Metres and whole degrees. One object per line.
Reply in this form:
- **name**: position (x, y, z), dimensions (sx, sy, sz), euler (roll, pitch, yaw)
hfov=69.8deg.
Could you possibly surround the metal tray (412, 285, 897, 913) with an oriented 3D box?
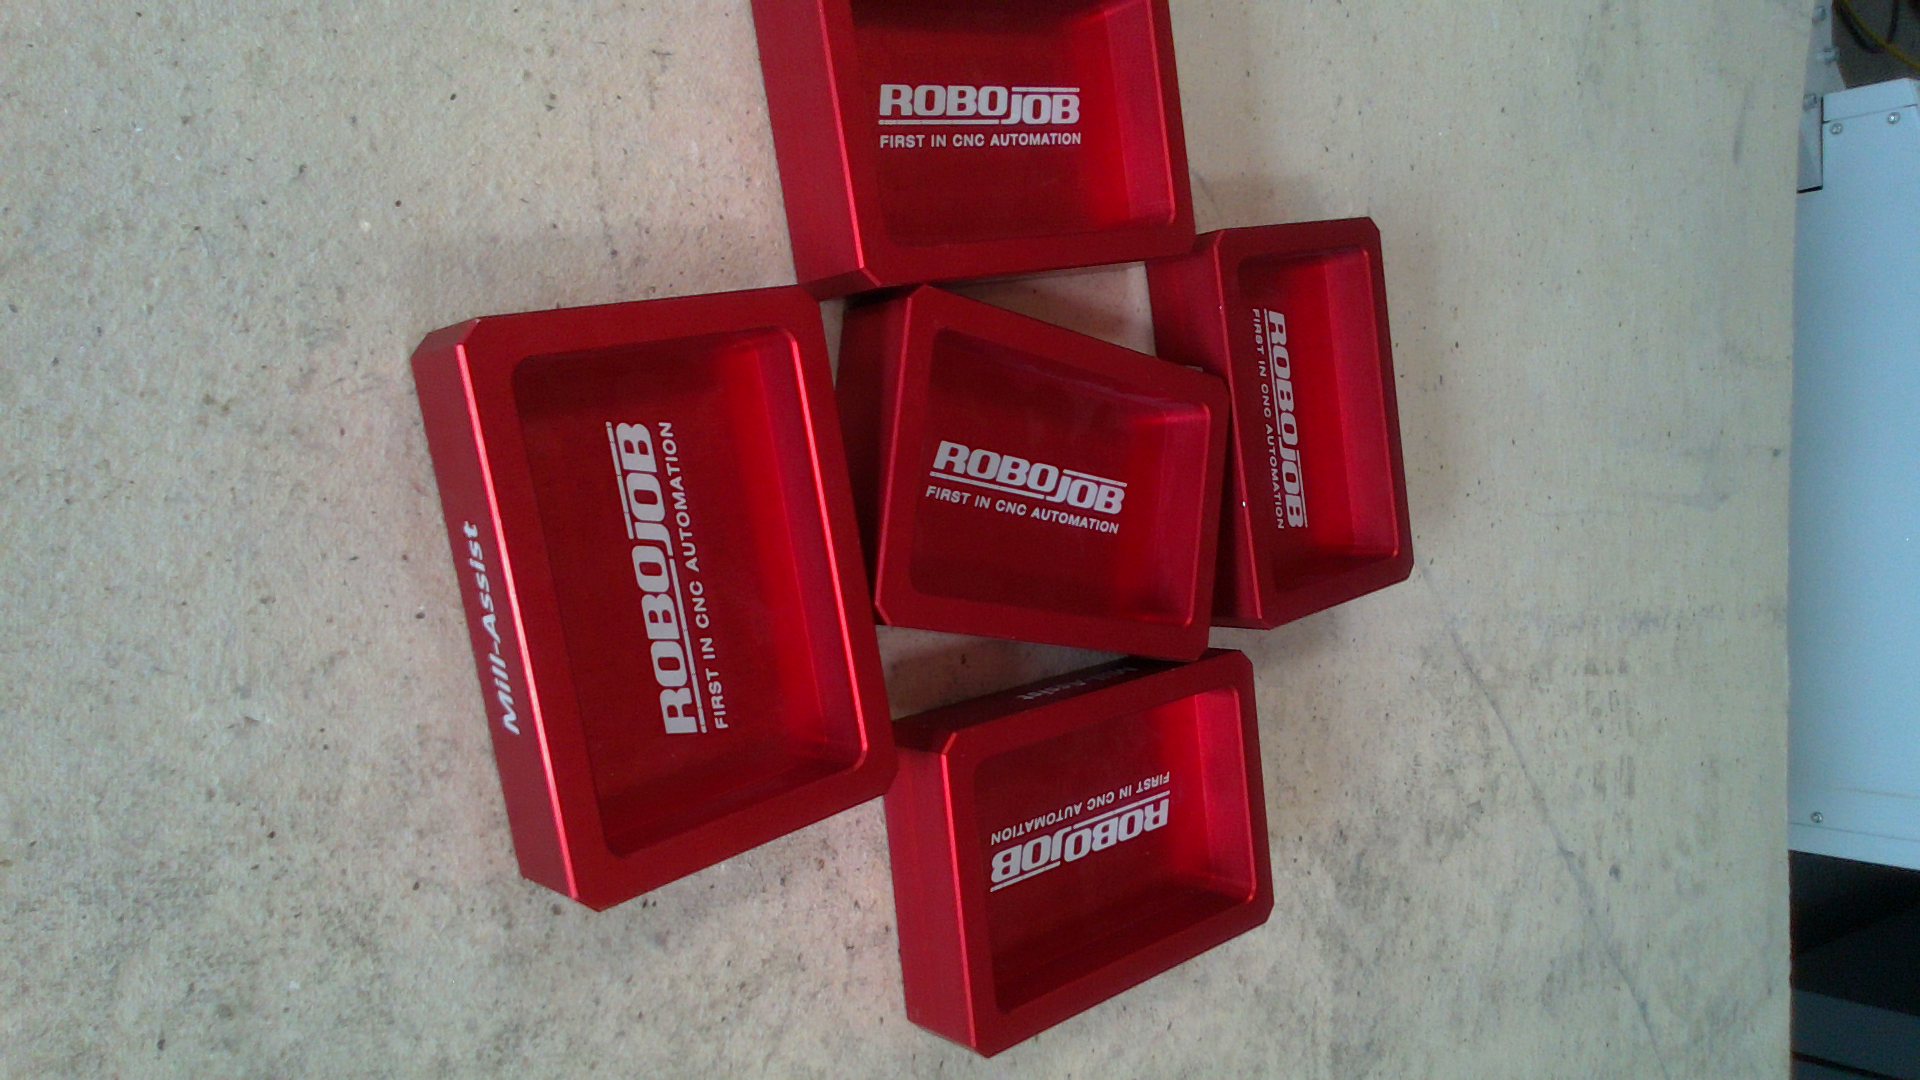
- **metal tray**: position (-0.068, 0.010, 0.329), dimensions (0.090, 0.030, 0.130), euler (-15, 100, -38)

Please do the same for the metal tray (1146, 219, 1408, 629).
- **metal tray**: position (0.112, -0.042, 0.480), dimensions (0.090, 0.030, 0.130), euler (-14, 99, -38)

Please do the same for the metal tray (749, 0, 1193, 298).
- **metal tray**: position (0.008, -0.120, 0.393), dimensions (0.131, 0.030, 0.090), euler (-14, 99, -38)

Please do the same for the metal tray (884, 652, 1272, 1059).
- **metal tray**: position (0.040, 0.088, 0.418), dimensions (0.131, 0.030, 0.090), euler (-10, 96, -39)

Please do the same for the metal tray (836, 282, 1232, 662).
- **metal tray**: position (0.023, -0.015, 0.404), dimensions (0.131, 0.030, 0.090), euler (10, 86, -39)
